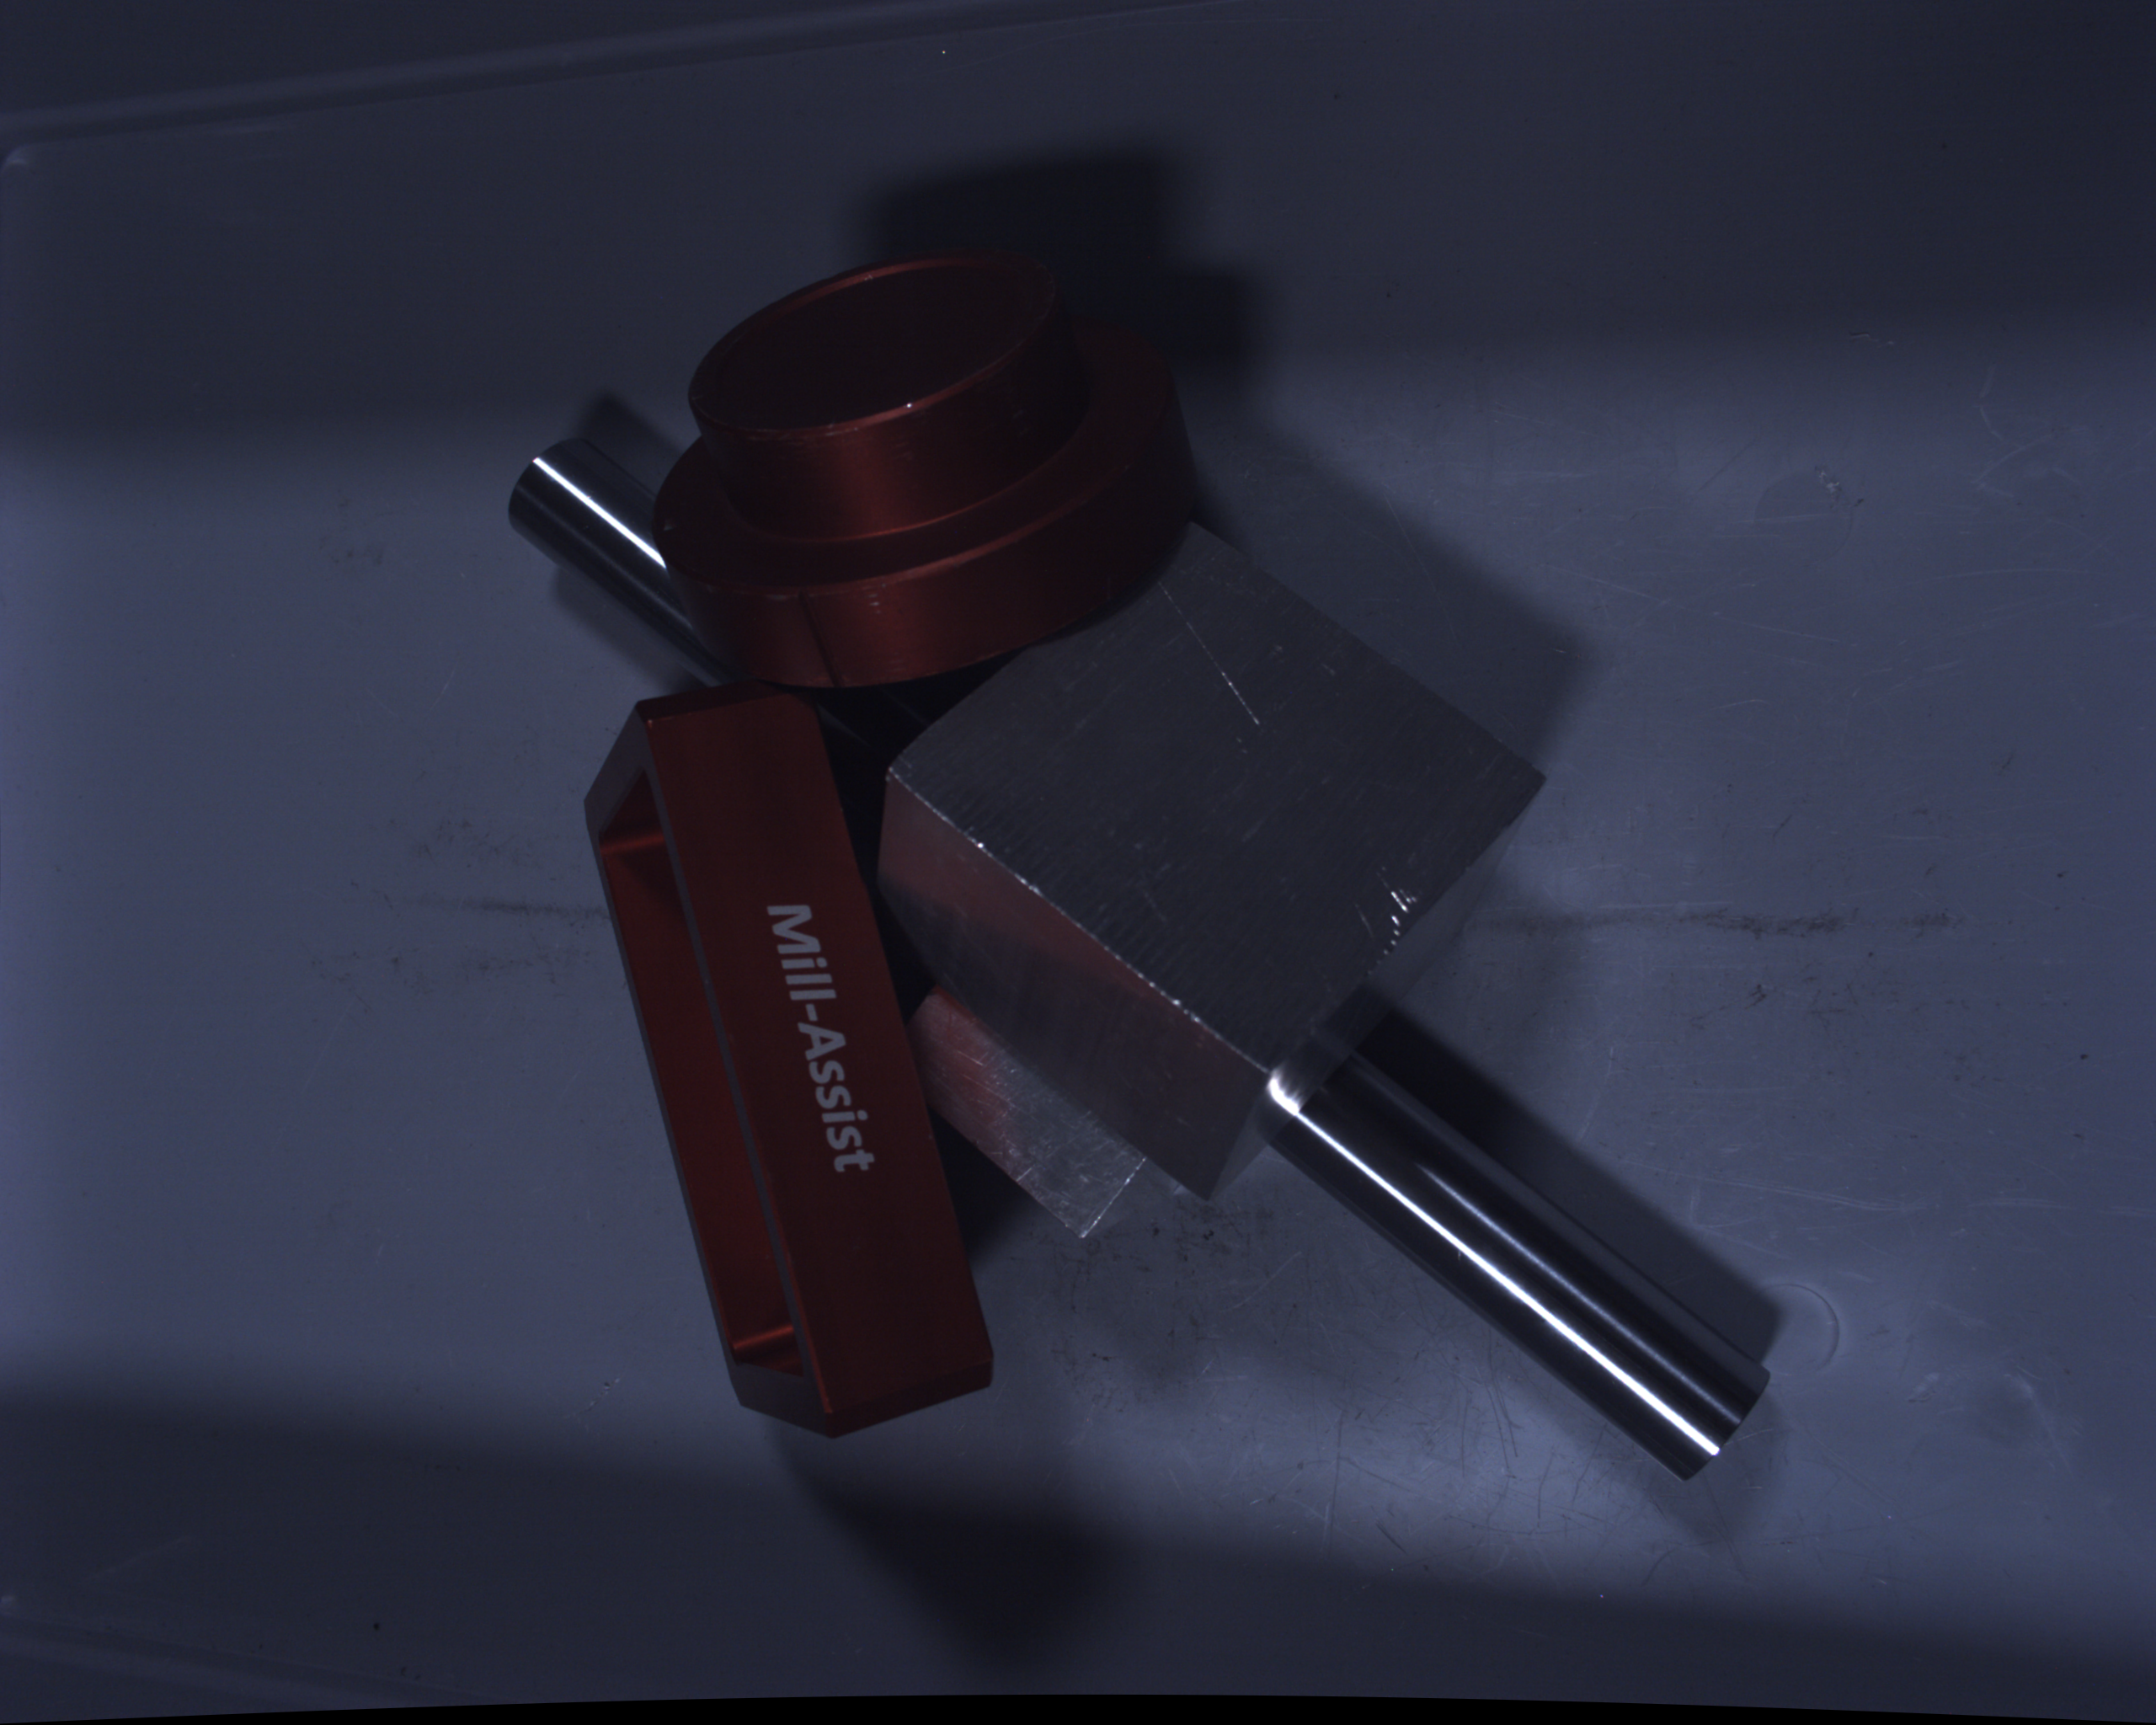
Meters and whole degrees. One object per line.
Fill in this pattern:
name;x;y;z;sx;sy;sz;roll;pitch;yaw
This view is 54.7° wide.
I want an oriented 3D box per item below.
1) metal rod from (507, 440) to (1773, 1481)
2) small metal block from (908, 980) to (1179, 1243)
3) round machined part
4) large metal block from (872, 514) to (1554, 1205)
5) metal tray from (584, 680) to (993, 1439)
metal rod;0.001;0.010;0.408;0.300;0.025;0.025;38;102;15
small metal block;-0.002;0.042;0.395;0.050;0.050;0.025;40;103;15
round machined part;-0.031;-0.077;0.378;0.098;0.098;0.042;-2;130;19
large metal block;0.021;-0.002;0.366;0.080;0.050;0.080;39;59;15
metal tray;-0.059;0.038;0.396;0.030;0.090;0.129;-13;84;-22
